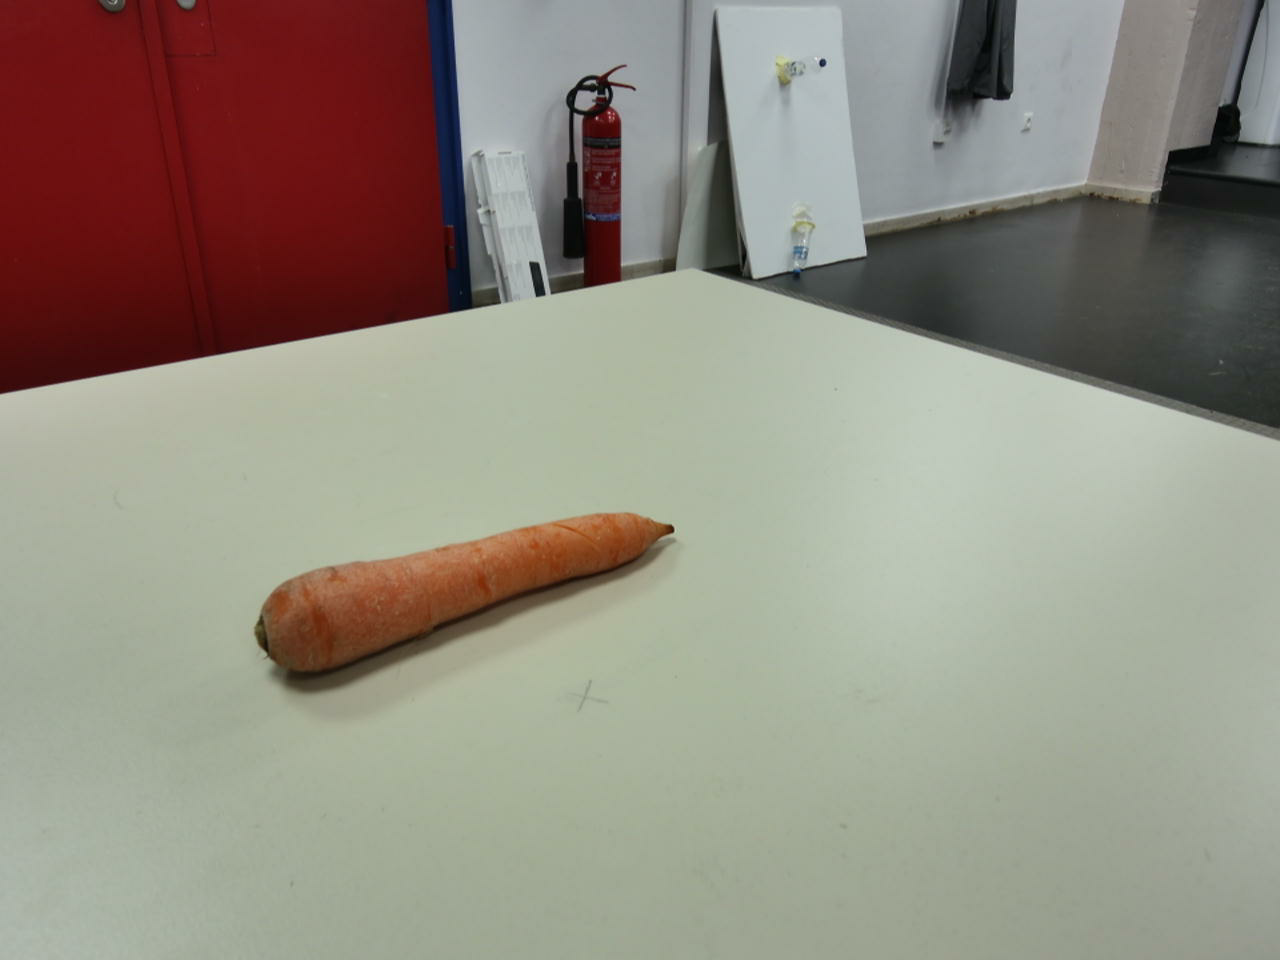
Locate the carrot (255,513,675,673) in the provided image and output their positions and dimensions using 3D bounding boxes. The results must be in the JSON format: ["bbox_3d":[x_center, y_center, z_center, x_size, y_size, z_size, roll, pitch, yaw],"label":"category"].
[{"bbox_3d":[-0.063,0.035,0.424,0.196,0.041,0.039,-18,30,-35],"label":"carrot"}]
